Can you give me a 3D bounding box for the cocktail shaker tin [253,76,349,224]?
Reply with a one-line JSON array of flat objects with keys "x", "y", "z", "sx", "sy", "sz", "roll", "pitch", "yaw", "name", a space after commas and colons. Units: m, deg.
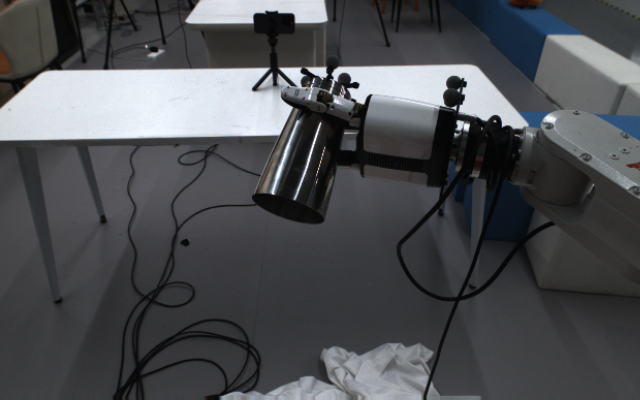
[{"x": -0.014, "y": -0.067, "z": 0.611, "sx": 0.093, "sy": 0.093, "sz": 0.170, "roll": 13, "pitch": 71, "yaw": 15, "name": "cocktail shaker tin"}]
